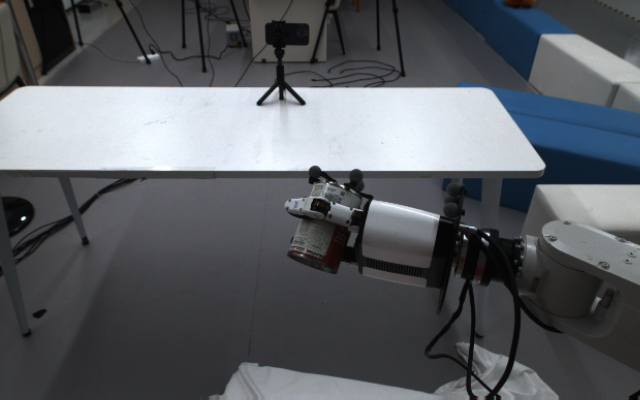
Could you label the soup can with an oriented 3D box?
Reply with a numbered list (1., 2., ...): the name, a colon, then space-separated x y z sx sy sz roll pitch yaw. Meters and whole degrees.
1. soup can: 0.009 0.034 0.614 0.067 0.067 0.101 16 74 19
